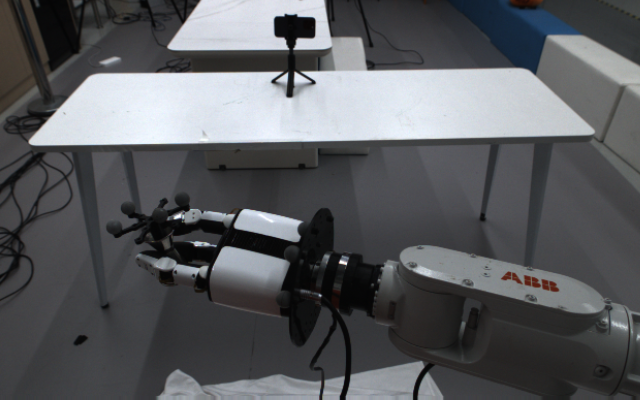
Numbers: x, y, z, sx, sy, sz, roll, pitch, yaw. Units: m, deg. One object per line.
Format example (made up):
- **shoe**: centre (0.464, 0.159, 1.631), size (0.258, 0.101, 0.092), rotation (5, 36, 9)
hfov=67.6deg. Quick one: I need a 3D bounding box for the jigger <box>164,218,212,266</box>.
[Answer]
- **jigger**: centre (-0.184, 0.066, 0.595), size (0.043, 0.071, 0.043), rotation (-10, 32, 6)
